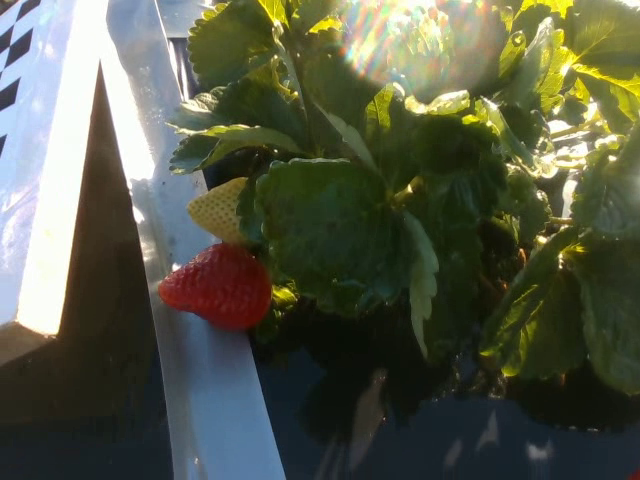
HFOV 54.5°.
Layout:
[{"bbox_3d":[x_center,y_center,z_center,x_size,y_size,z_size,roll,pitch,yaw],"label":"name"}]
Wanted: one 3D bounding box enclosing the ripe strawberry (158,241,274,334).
[{"bbox_3d":[-0.047,0.021,0.275,0.045,0.049,0.063,-3,-1,38],"label":"ripe strawberry"}]
